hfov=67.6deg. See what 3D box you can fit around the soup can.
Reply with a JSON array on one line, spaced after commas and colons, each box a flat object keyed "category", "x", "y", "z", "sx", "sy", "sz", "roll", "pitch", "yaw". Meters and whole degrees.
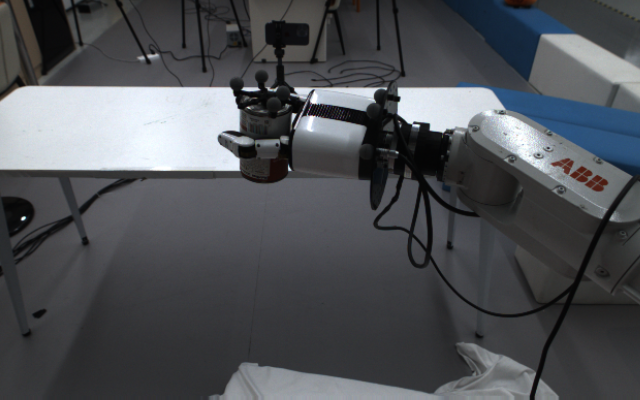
[{"category": "soup can", "x": -0.071, "y": -0.081, "z": 0.631, "sx": 0.067, "sy": 0.101, "sz": 0.067, "roll": 5, "pitch": 37, "yaw": -4}]
